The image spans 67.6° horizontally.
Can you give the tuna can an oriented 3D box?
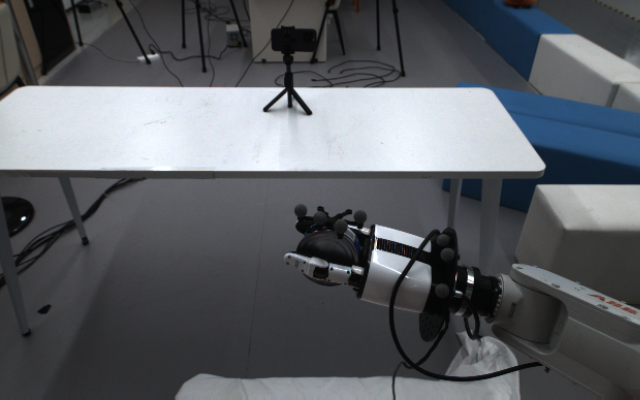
[{"bbox_3d":[0.014,0.072,0.659,0.085,0.085,0.034,9,23,10],"label":"tuna can"}]
